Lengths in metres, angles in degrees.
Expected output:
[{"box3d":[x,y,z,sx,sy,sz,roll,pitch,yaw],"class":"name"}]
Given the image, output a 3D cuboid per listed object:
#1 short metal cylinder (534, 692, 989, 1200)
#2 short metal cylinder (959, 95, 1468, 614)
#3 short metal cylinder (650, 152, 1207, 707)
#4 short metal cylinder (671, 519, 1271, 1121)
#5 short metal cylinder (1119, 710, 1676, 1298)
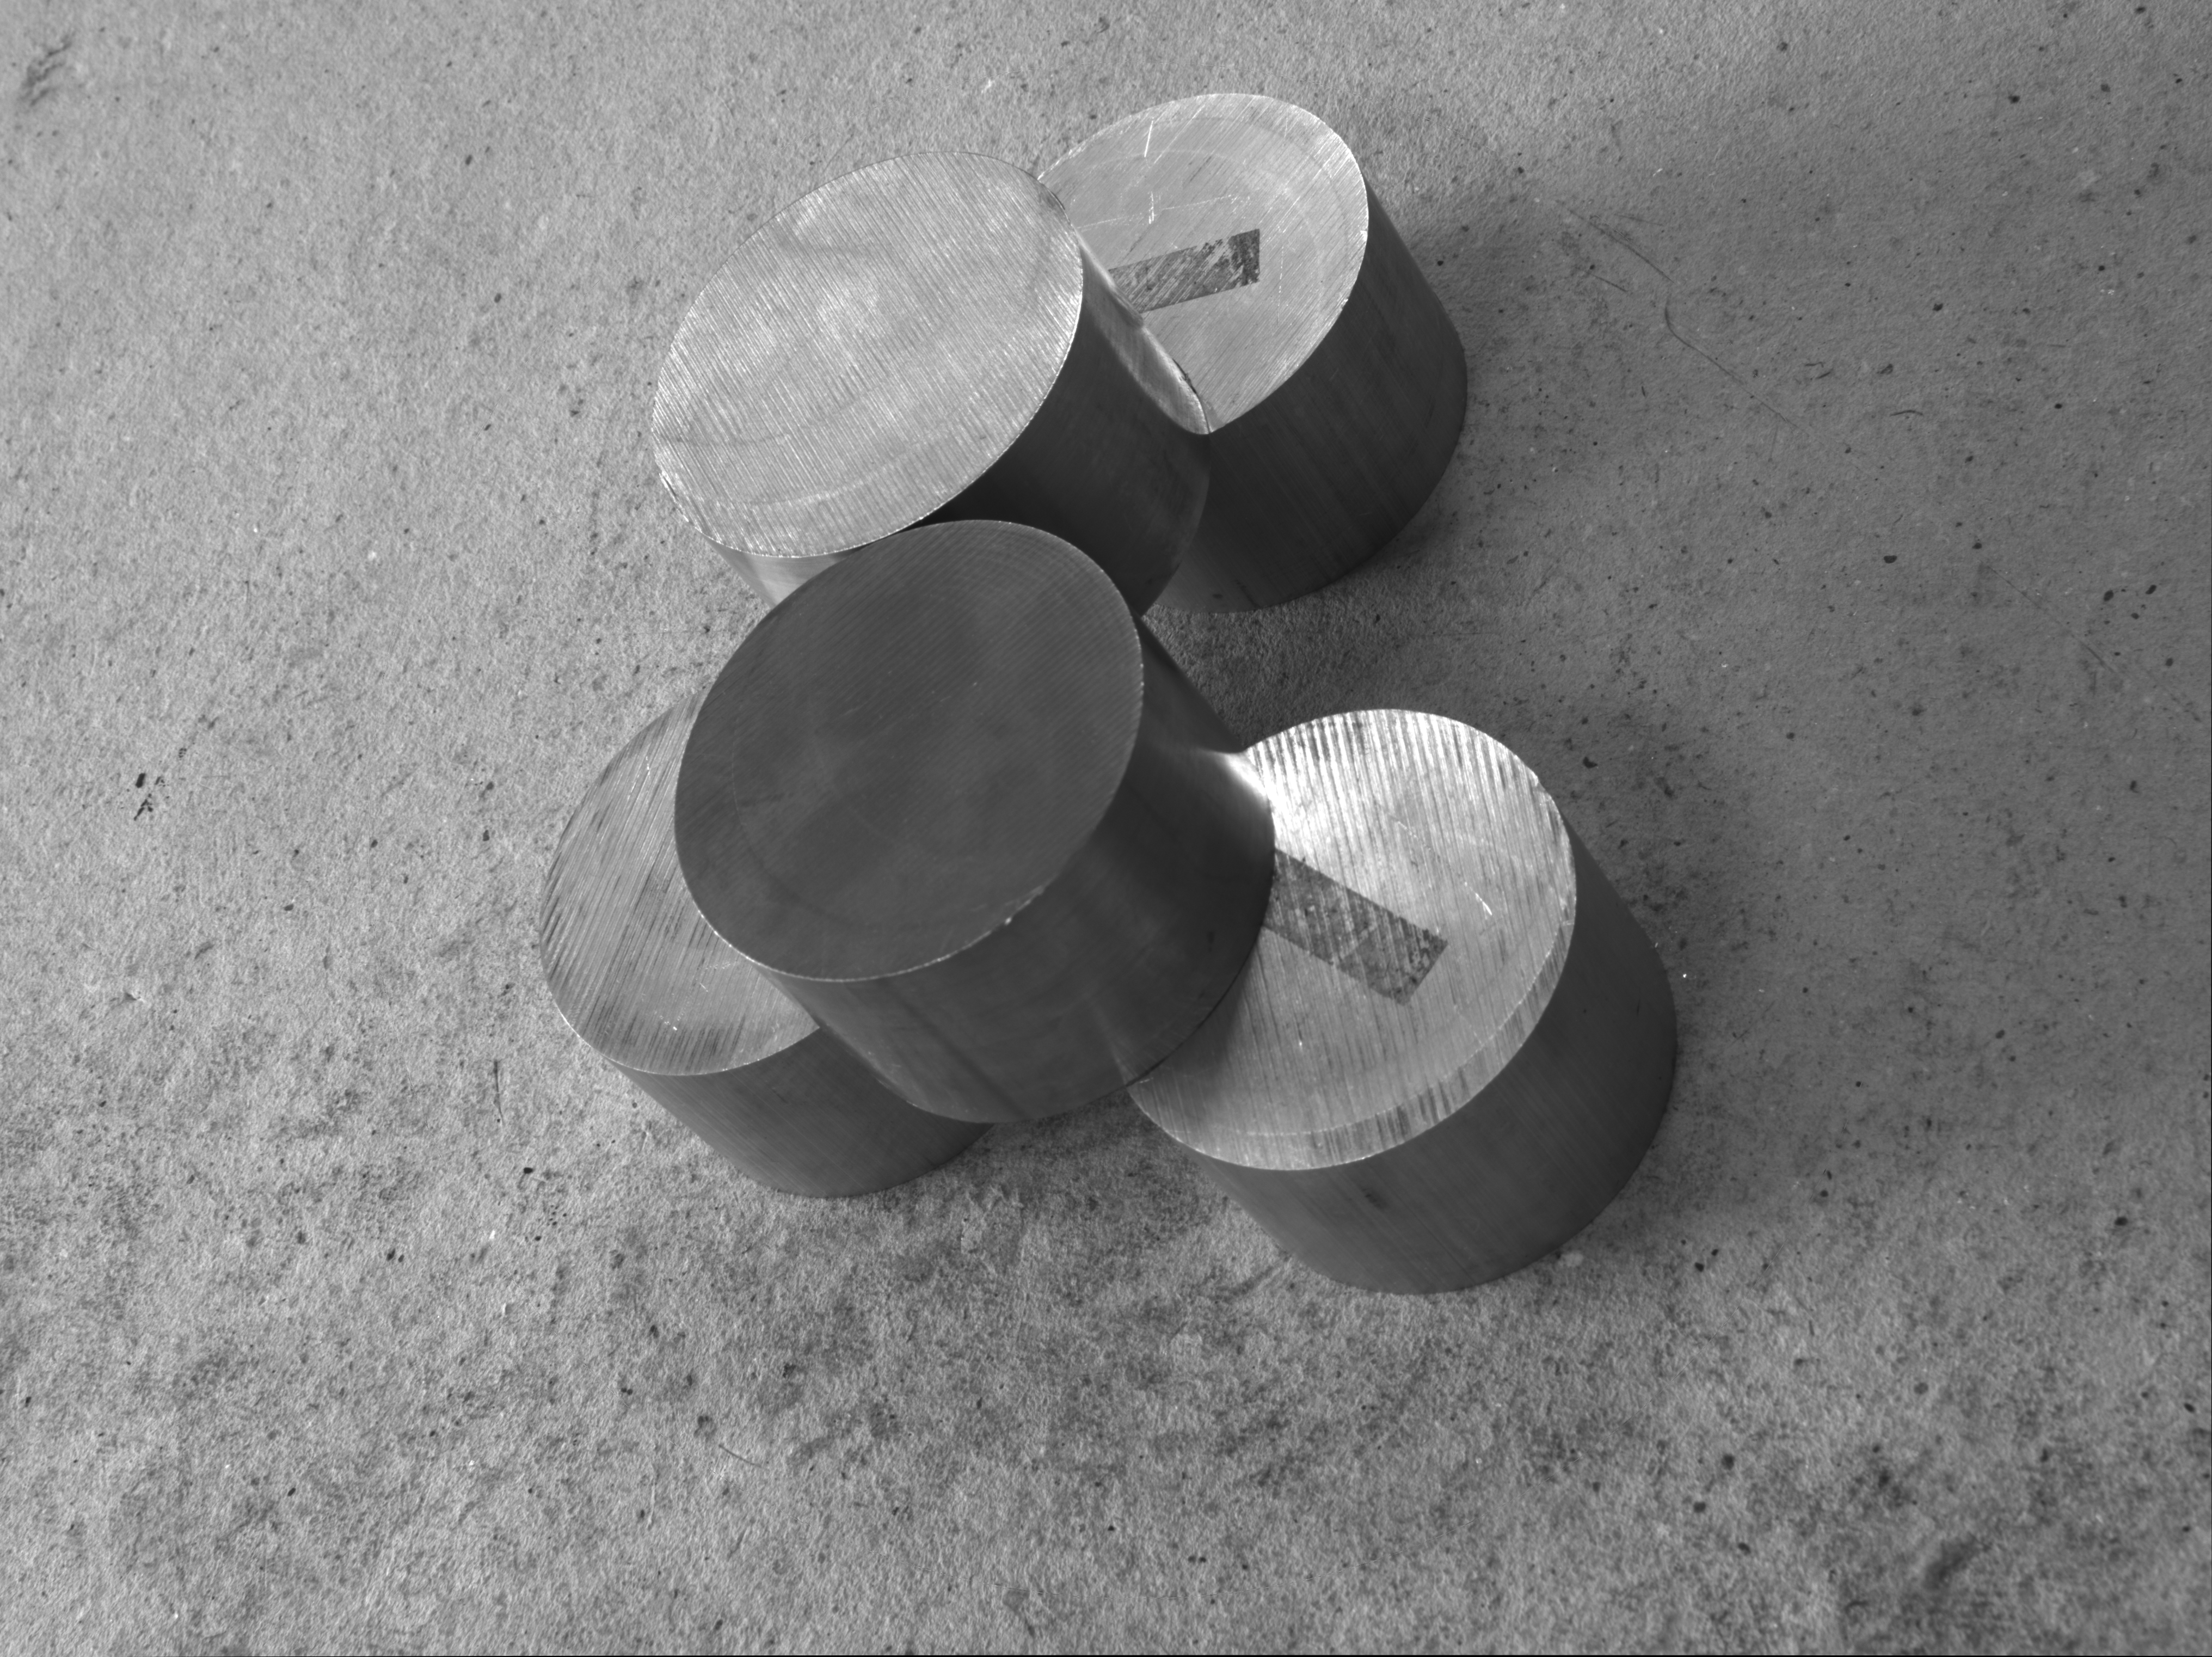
[{"box3d":[-0.053,0.019,0.646,0.080,0.050,0.080,-14,56,21],"class":"short metal cylinder"},{"box3d":[0.020,-0.087,0.672,0.080,0.050,0.080,-14,56,21],"class":"short metal cylinder"},{"box3d":[-0.030,-0.067,0.620,0.080,0.050,0.080,-14,55,21],"class":"short metal cylinder"},{"box3d":[-0.021,-0.001,0.574,0.080,0.050,0.080,-13,56,21],"class":"short metal cylinder"},{"box3d":[0.045,0.028,0.586,0.080,0.050,0.080,-14,56,21],"class":"short metal cylinder"}]
